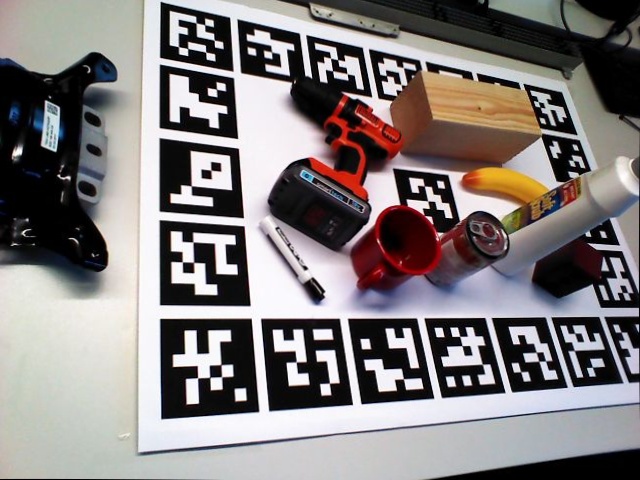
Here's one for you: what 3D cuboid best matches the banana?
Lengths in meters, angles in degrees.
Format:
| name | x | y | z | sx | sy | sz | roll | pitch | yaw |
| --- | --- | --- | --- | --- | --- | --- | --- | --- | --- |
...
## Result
| name | x | y | z | sx | sy | sz | roll | pitch | yaw |
| --- | --- | --- | --- | --- | --- | --- | --- | --- | --- |
| banana | 0.325 | -0.078 | 0.812 | 0.197 | 0.039 | 0.074 | 19 | 73 | -18 |

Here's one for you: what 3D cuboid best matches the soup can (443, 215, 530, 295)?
| name | x | y | z | sx | sy | sz | roll | pitch | yaw |
| --- | --- | --- | --- | --- | --- | --- | --- | --- | --- |
| soup can | 0.209 | 0.022 | 0.668 | 0.068 | 0.103 | 0.067 | 12 | 57 | -20 |

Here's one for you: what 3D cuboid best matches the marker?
| name | x | y | z | sx | sy | sz | roll | pitch | yaw |
| --- | --- | --- | --- | --- | --- | --- | --- | --- | --- |
| marker | -0.014 | 0.038 | 0.617 | 0.019 | 0.020 | 0.121 | -30 | 82 | -31 |

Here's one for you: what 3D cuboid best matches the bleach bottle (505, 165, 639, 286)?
| name | x | y | z | sx | sy | sz | roll | pitch | yaw |
| --- | --- | --- | --- | --- | --- | --- | --- | --- | --- |
| bleach bottle | 0.346 | -0.028 | 0.672 | 0.068 | 0.252 | 0.102 | 29 | 56 | -9 |

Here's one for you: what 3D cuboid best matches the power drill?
| name | x | y | z | sx | sy | sz | roll | pitch | yaw |
| --- | --- | --- | --- | --- | --- | --- | --- | --- | --- |
| power drill | 0.036 | -0.101 | 0.688 | 0.184 | 0.058 | 0.185 | 31 | 56 | -12 |

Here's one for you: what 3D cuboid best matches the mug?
| name | x | y | z | sx | sy | sz | roll | pitch | yaw |
| --- | --- | --- | --- | --- | --- | --- | --- | --- | --- |
| mug | 0.105 | 0.027 | 0.635 | 0.093 | 0.082 | 0.116 | 43 | 59 | -3 |

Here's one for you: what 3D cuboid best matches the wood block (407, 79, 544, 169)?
| name | x | y | z | sx | sy | sz | roll | pitch | yaw |
| --- | --- | --- | --- | --- | --- | --- | --- | --- | --- |
| wood block | 0.248 | -0.172 | 0.796 | 0.206 | 0.091 | 0.089 | 2 | 66 | -24 |

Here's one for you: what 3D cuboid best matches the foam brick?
| name | x | y | z | sx | sy | sz | roll | pitch | yaw |
| --- | --- | --- | --- | --- | --- | --- | --- | --- | --- |
| foam brick | 0.389 | 0.054 | 0.759 | 0.053 | 0.078 | 0.051 | 33 | 55 | -5 |
